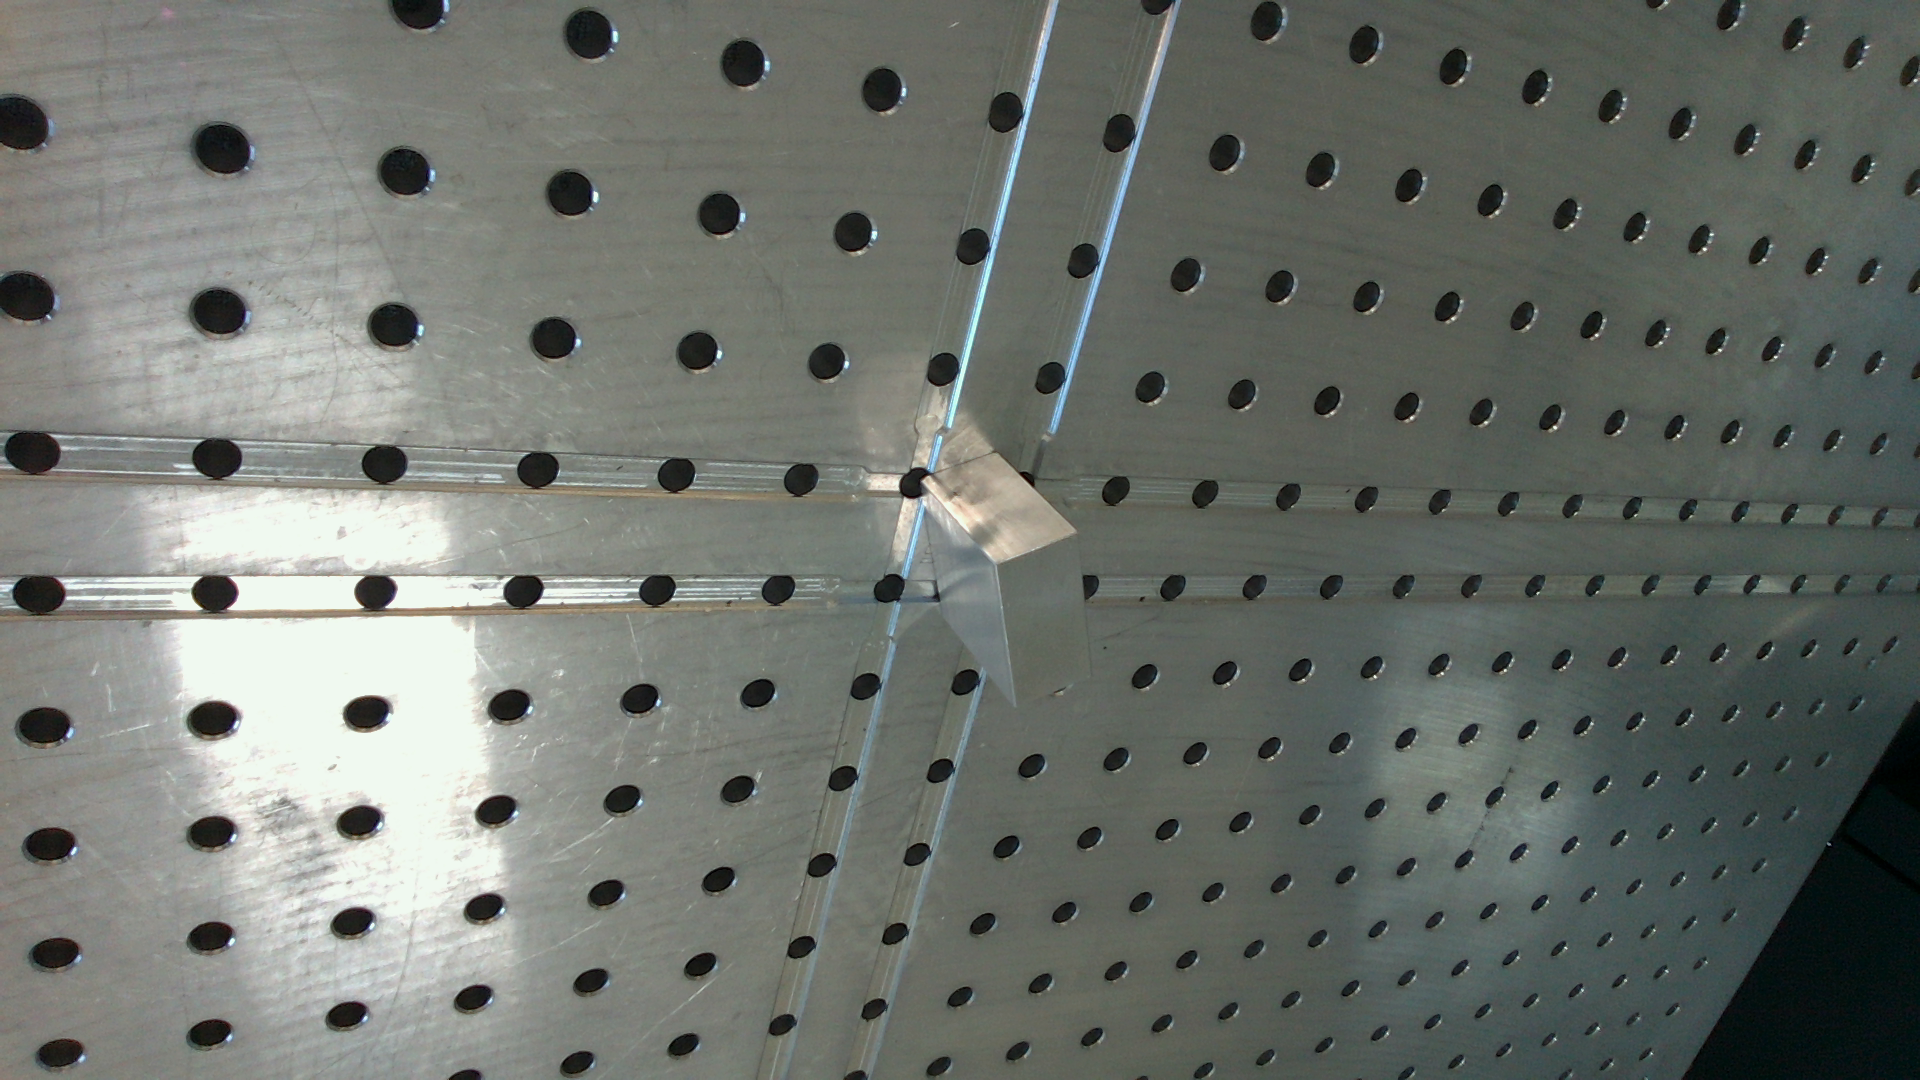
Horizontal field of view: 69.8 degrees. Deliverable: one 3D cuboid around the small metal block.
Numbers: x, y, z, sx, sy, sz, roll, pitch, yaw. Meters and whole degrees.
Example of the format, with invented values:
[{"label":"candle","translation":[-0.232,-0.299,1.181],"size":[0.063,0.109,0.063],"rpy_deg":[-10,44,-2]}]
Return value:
[{"label":"small metal block","translation":[0.013,0.011,0.389],"size":[0.025,0.050,0.050],"rpy_deg":[-21,127,-16]}]
